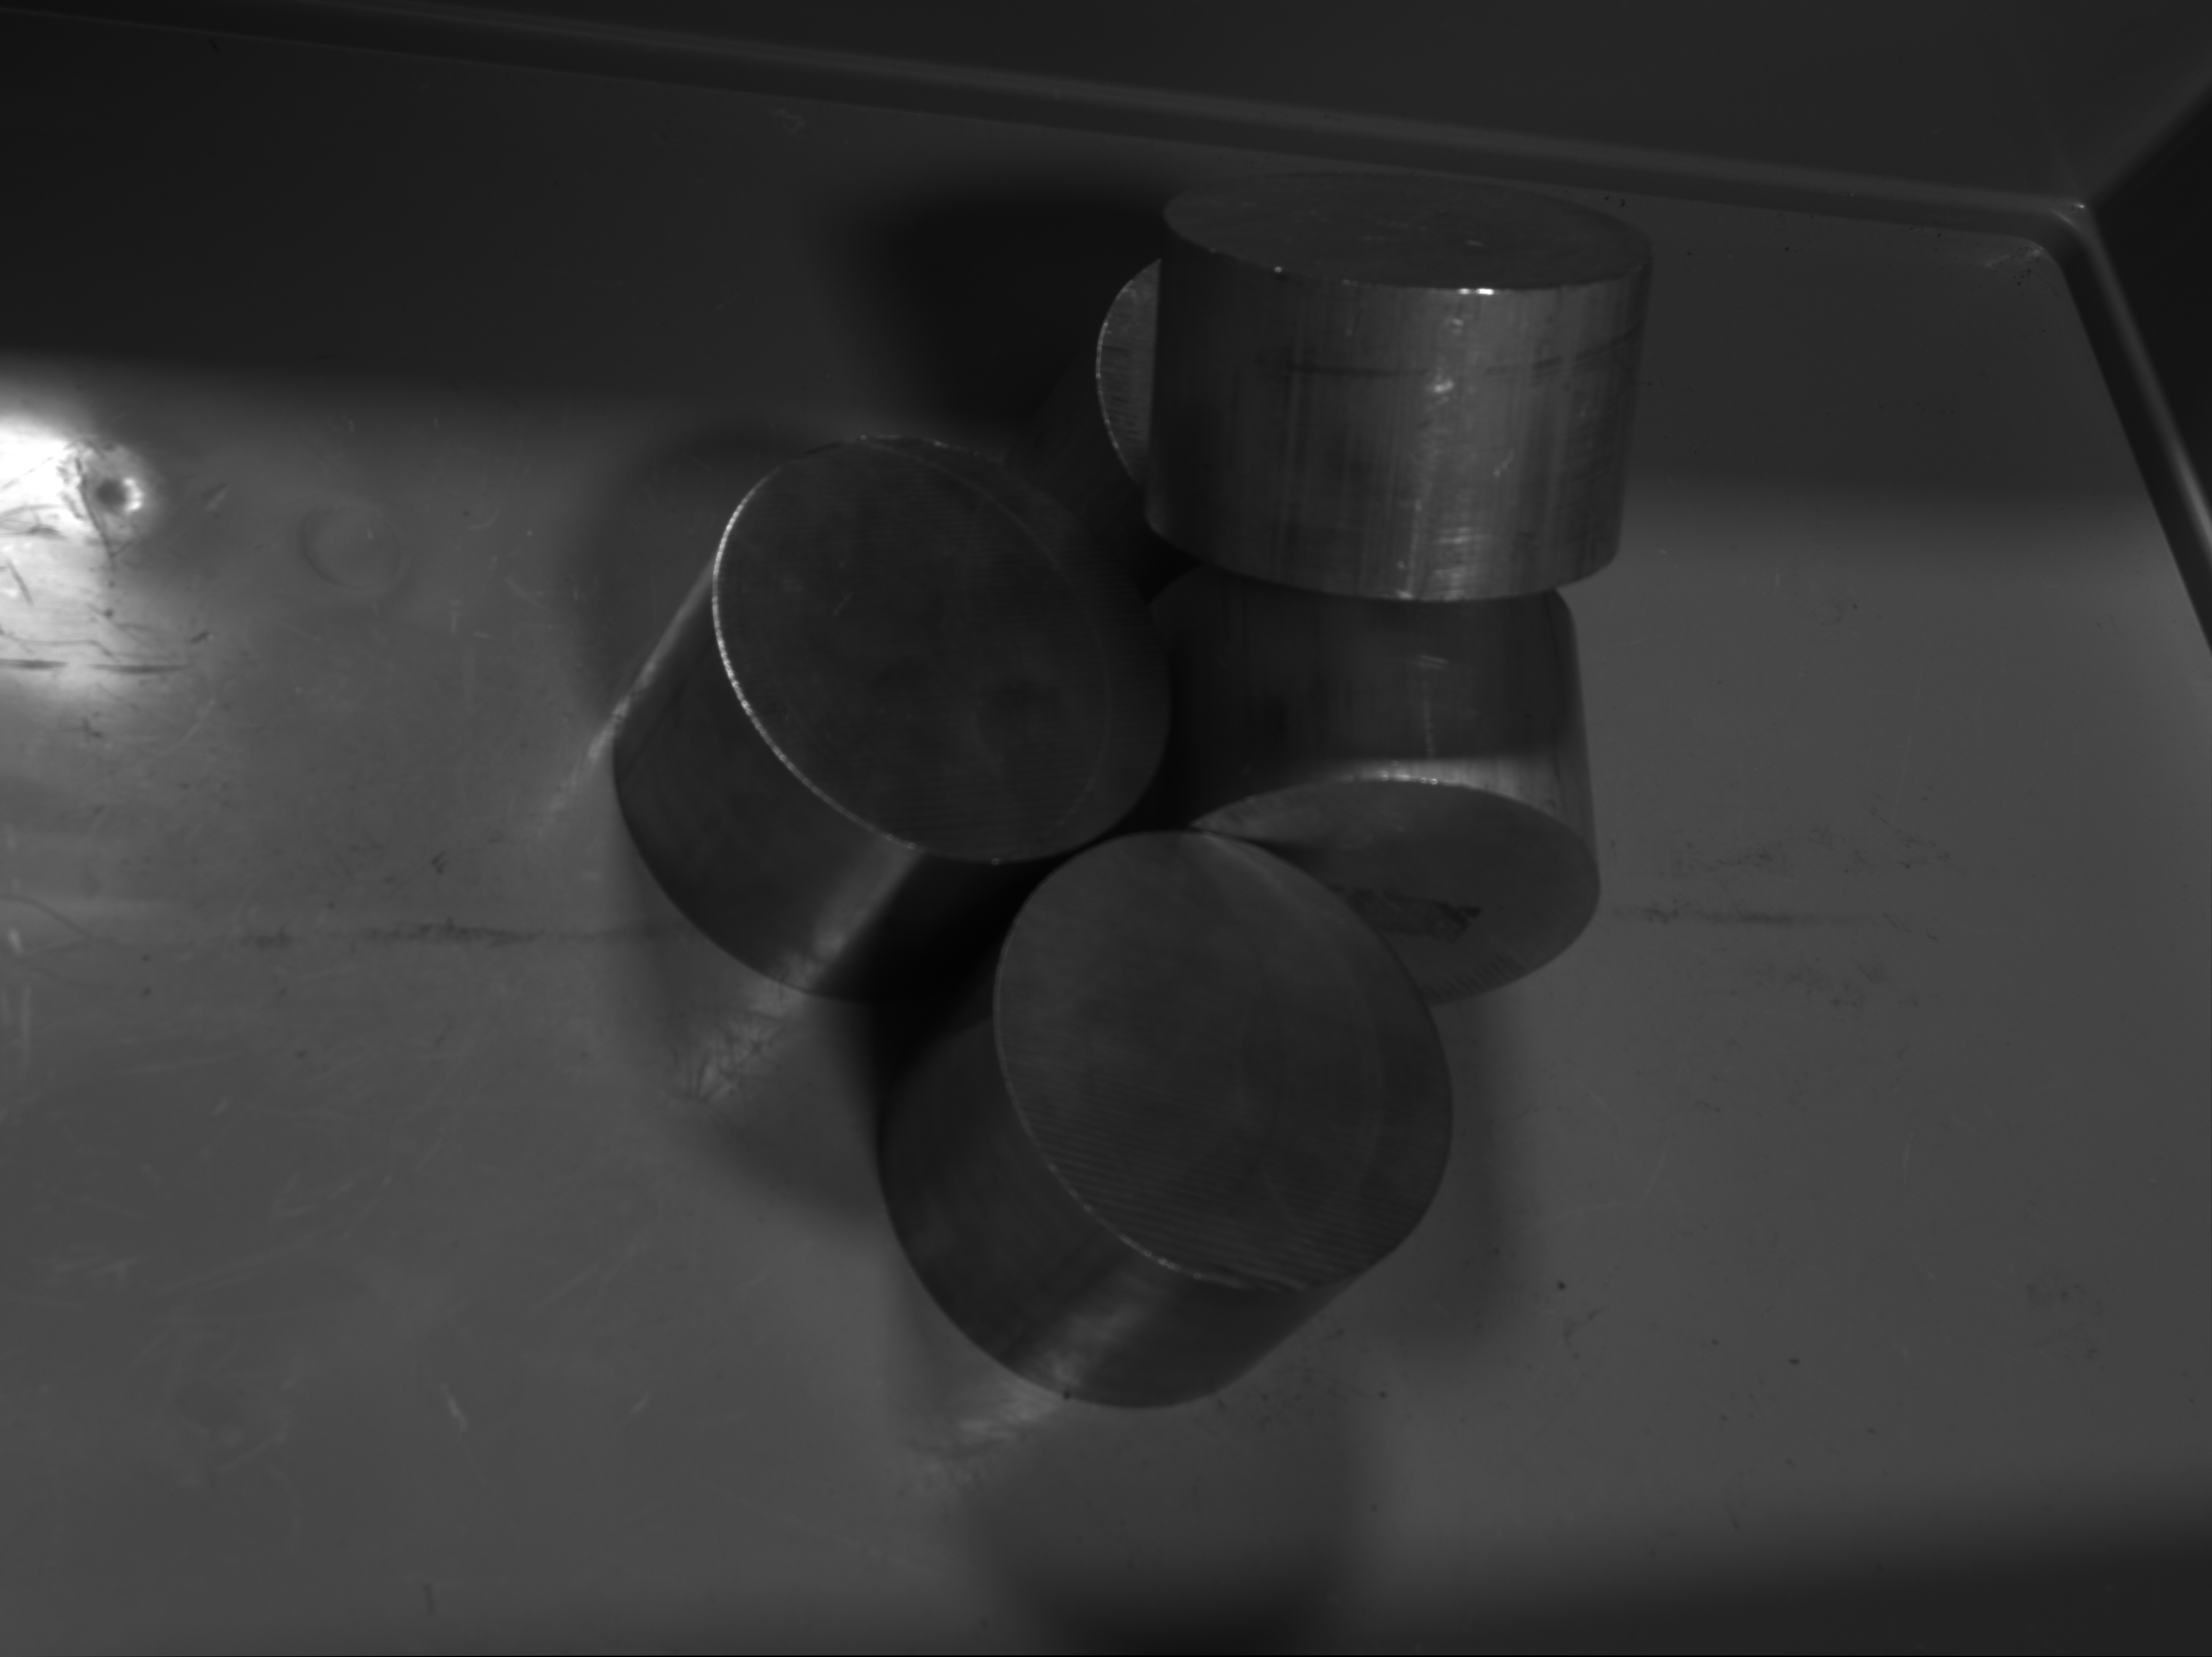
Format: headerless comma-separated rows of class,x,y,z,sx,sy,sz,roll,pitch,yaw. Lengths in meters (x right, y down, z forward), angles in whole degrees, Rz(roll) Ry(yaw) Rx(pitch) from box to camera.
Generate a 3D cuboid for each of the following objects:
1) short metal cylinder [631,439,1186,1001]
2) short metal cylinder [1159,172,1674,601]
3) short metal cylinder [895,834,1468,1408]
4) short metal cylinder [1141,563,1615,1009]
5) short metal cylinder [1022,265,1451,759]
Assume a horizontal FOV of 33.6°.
short metal cylinder,-0.033,-0.018,0.615,0.080,0.050,0.080,14,56,-21
short metal cylinder,0.051,-0.075,0.605,0.080,0.050,0.080,4,22,-1
short metal cylinder,0.012,0.048,0.599,0.080,0.050,0.080,14,56,-21
short metal cylinder,0.046,-0.008,0.633,0.080,0.080,0.050,13,56,-21
short metal cylinder,0.027,-0.060,0.673,0.080,0.050,0.080,14,56,-21
